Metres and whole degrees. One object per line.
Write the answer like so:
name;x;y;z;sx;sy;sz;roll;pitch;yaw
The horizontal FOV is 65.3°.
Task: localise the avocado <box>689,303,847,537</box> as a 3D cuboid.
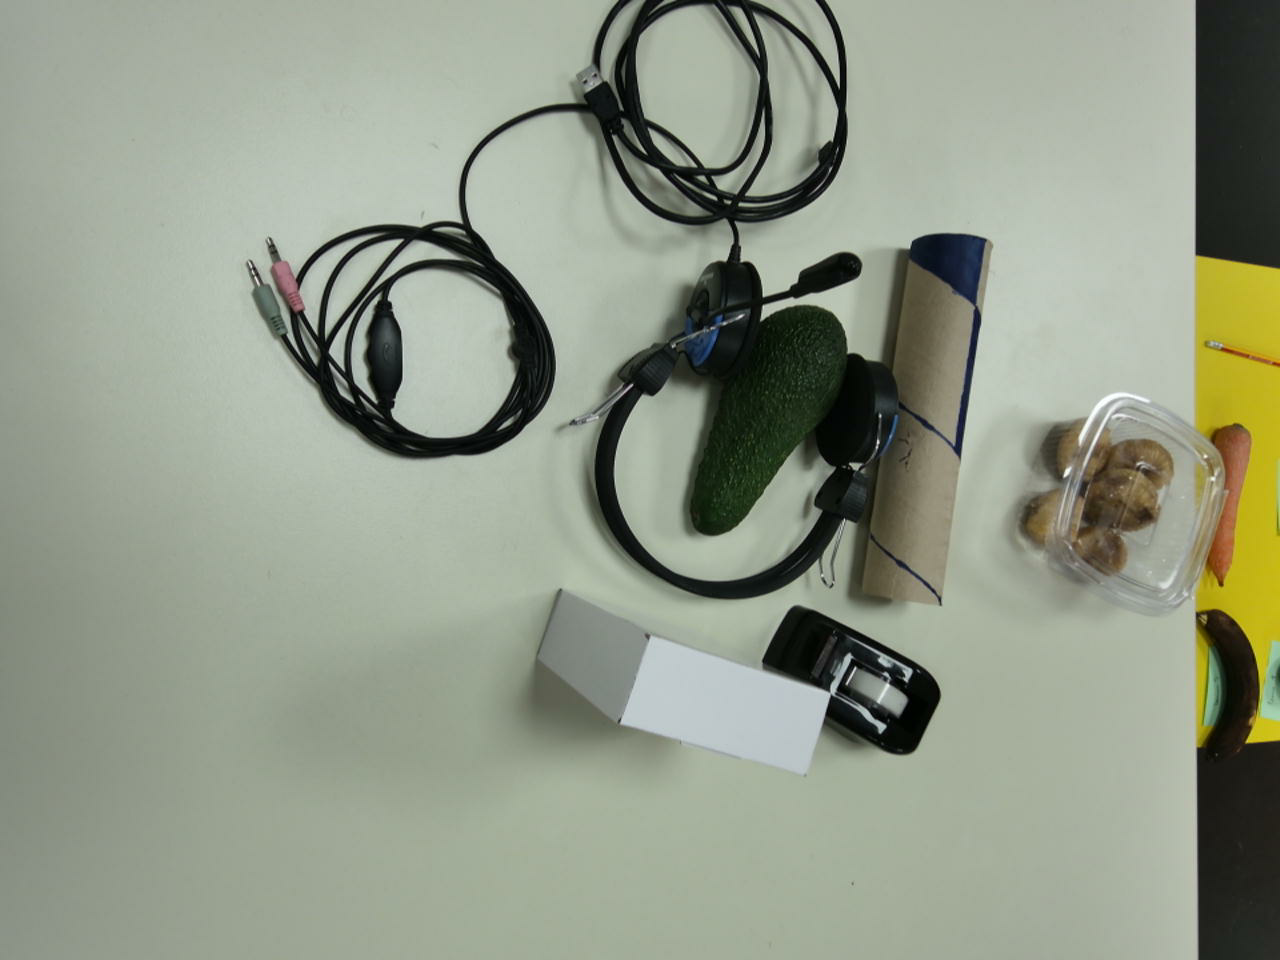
avocado;0.075;-0.031;0.556;0.063;0.067;0.141;16;85;-21
